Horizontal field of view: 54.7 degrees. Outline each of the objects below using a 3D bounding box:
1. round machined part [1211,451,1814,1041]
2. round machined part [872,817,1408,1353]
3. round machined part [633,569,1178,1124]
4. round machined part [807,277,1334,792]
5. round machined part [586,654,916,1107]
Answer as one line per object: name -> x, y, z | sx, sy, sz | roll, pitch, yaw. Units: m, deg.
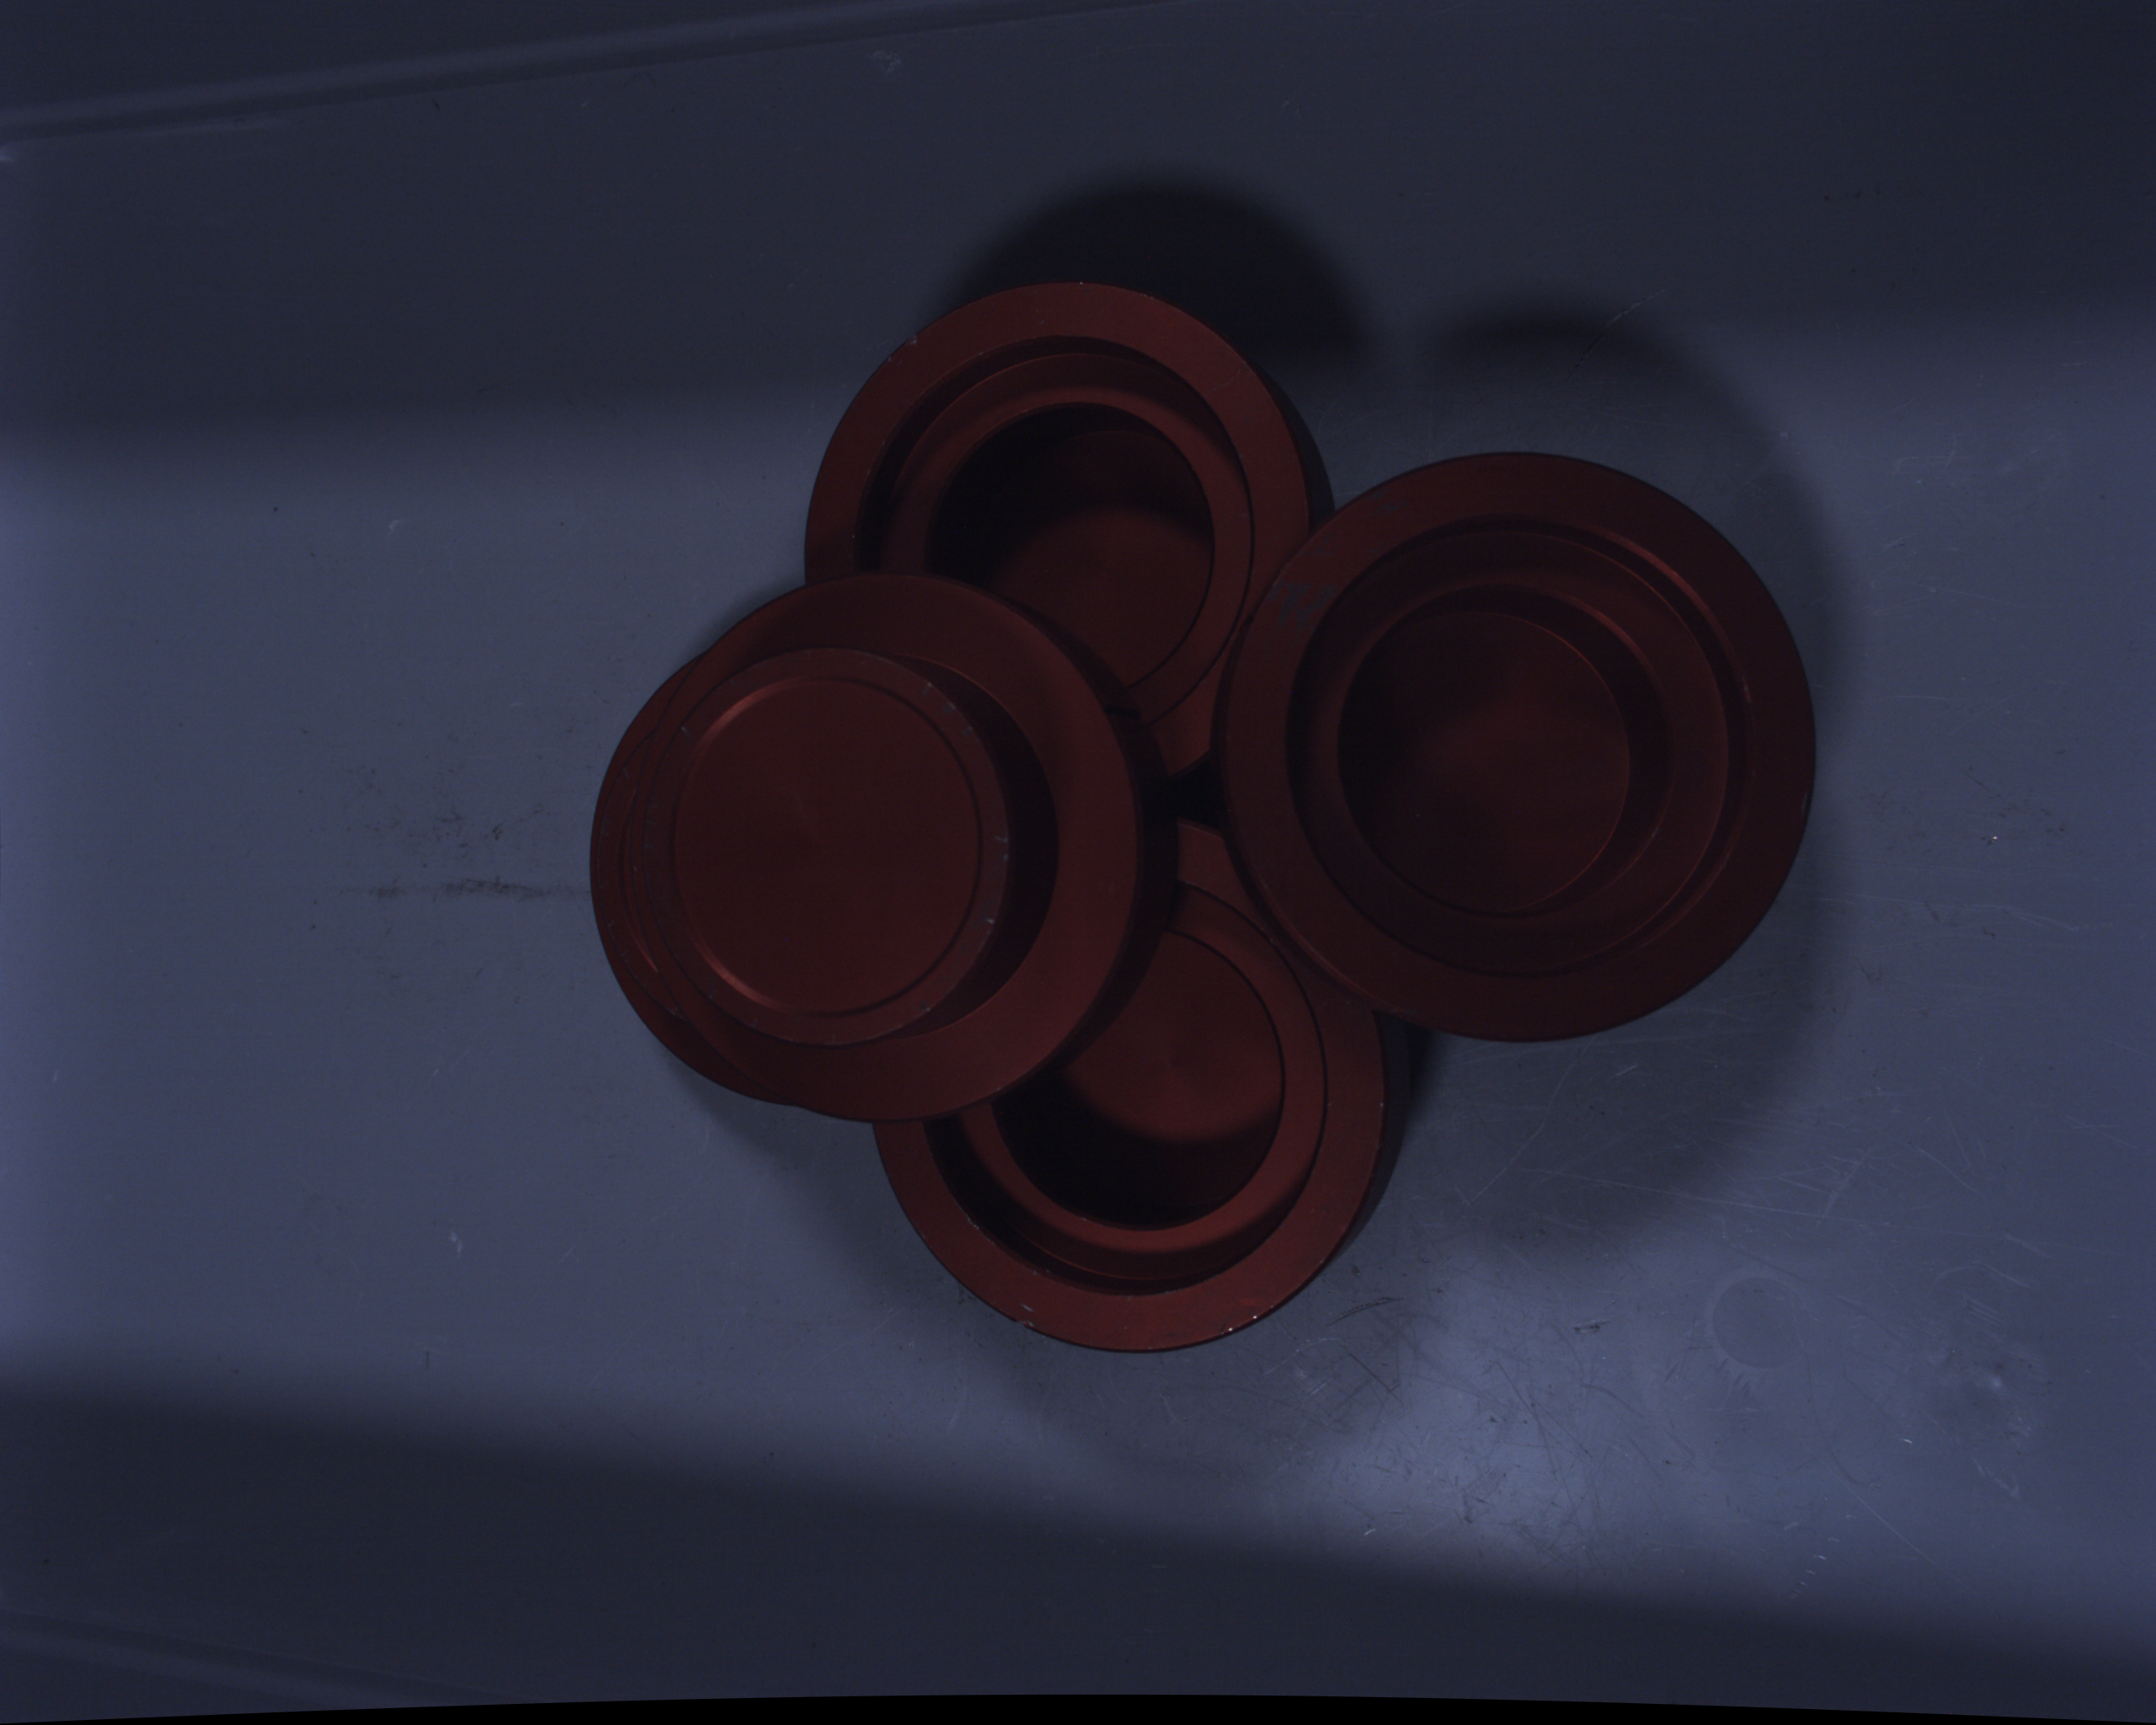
round machined part -> 0.072, -0.019, 0.363 | 0.099, 0.042, 0.097 | 0, 87, -1
round machined part -> 0.014, 0.039, 0.394 | 0.098, 0.042, 0.097 | 0, 90, 19
round machined part -> -0.036, -0.003, 0.365 | 0.098, 0.042, 0.097 | 0, 90, 19
round machined part -> 0.002, -0.058, 0.399 | 0.098, 0.042, 0.097 | 0, 90, 19
round machined part -> -0.056, 0.001, 0.417 | 0.098, 0.042, 0.097 | 0, 90, 19
